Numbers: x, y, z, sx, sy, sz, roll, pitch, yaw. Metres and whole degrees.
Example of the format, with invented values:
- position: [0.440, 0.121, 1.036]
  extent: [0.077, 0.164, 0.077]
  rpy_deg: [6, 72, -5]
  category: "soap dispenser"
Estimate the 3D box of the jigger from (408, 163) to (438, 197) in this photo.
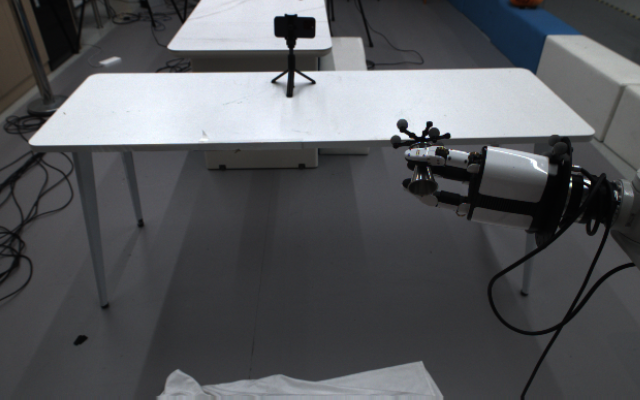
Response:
- position: [0.150, -0.050, 0.716]
  extent: [0.043, 0.043, 0.071]
  rpy_deg: [4, 61, 2]
  category: "jigger"
